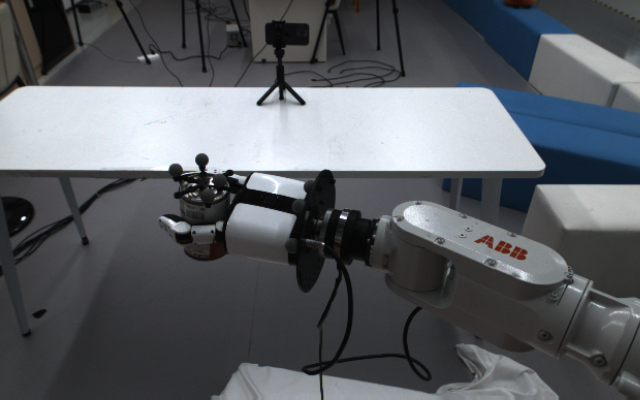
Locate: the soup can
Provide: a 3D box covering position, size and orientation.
[{"bbox_3d":[-0.153,0.025,0.654,0.067,0.101,0.067,5,37,-4],"label":"soup can"}]
